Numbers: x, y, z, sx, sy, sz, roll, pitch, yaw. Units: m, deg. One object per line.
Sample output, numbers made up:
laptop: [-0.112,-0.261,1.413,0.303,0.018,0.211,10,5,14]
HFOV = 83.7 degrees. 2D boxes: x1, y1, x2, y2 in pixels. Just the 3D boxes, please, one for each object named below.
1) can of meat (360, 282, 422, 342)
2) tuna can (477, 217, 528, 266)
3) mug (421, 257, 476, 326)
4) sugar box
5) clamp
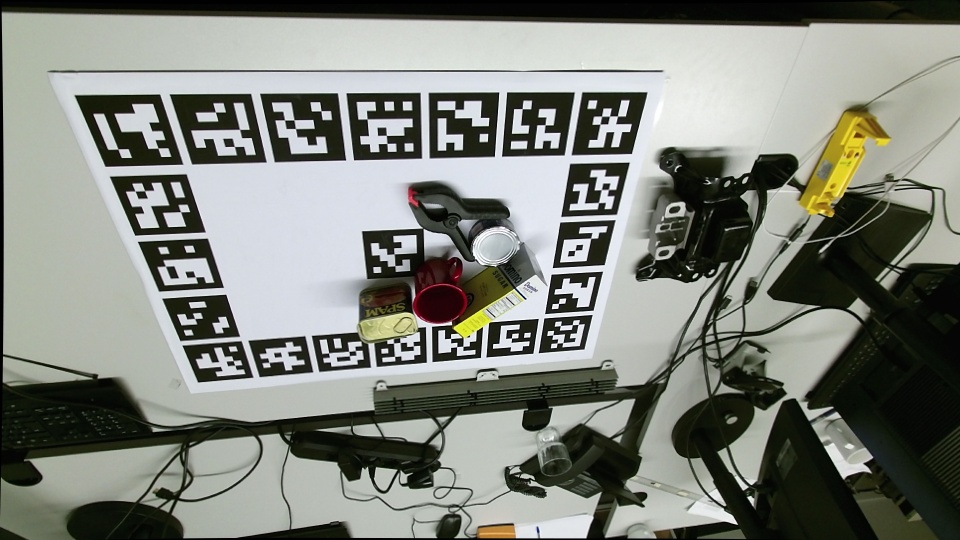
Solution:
can of meat: [-0.156,0.072,0.938,0.102,0.083,0.058,-10,128,-2]
tuna can: [0.039,-0.051,0.910,0.086,0.033,0.086,-5,124,-8]
mug: [-0.054,0.028,0.918,0.094,0.081,0.117,18,118,-22]
sugar box: [0.037,0.033,0.942,0.177,0.092,0.045,-34,126,15]
clamp: [-0.037,-0.094,0.871,0.166,0.036,0.122,29,120,-23]
